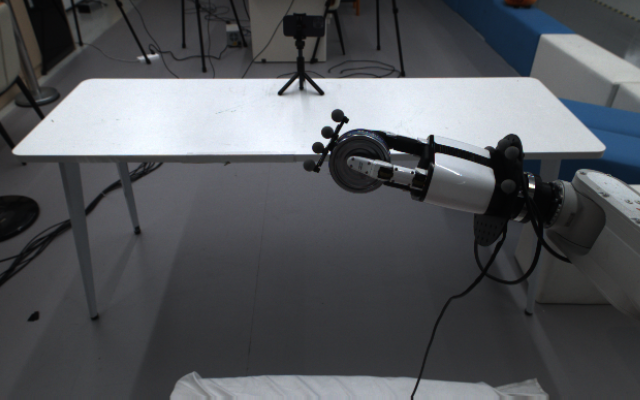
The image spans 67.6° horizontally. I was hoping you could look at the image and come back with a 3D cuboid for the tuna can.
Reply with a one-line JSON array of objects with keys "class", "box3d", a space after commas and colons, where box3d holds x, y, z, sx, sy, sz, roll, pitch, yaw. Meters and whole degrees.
[{"class": "tuna can", "box3d": [0.058, -0.055, 0.671, 0.085, 0.085, 0.034, 3, 20, 2]}]
